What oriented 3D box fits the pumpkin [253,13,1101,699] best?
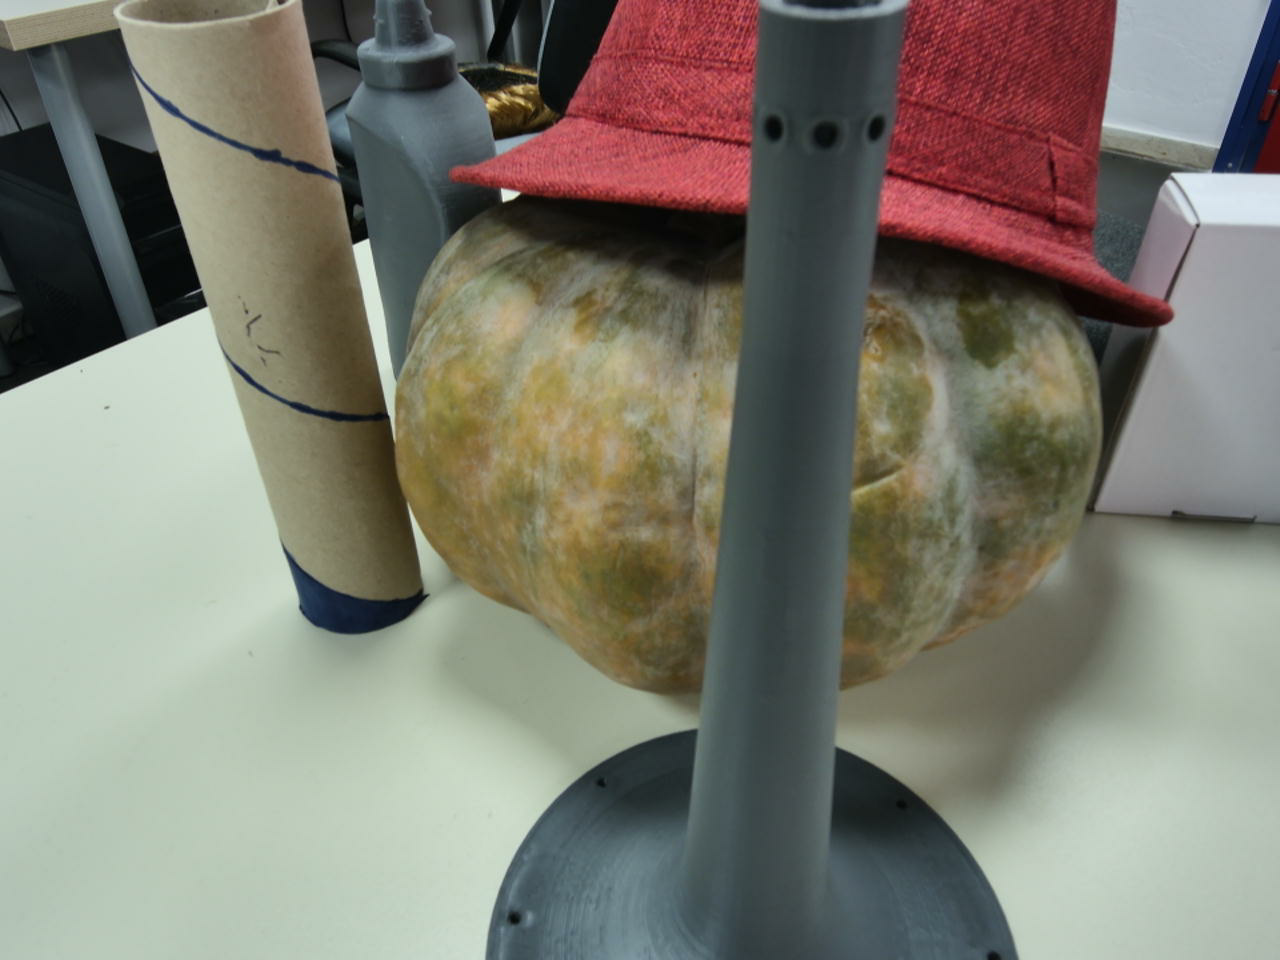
[{"bbox_3d":[0.033,-0.034,0.368,0.252,0.169,0.251,0,36,0],"label":"pumpkin"}]
